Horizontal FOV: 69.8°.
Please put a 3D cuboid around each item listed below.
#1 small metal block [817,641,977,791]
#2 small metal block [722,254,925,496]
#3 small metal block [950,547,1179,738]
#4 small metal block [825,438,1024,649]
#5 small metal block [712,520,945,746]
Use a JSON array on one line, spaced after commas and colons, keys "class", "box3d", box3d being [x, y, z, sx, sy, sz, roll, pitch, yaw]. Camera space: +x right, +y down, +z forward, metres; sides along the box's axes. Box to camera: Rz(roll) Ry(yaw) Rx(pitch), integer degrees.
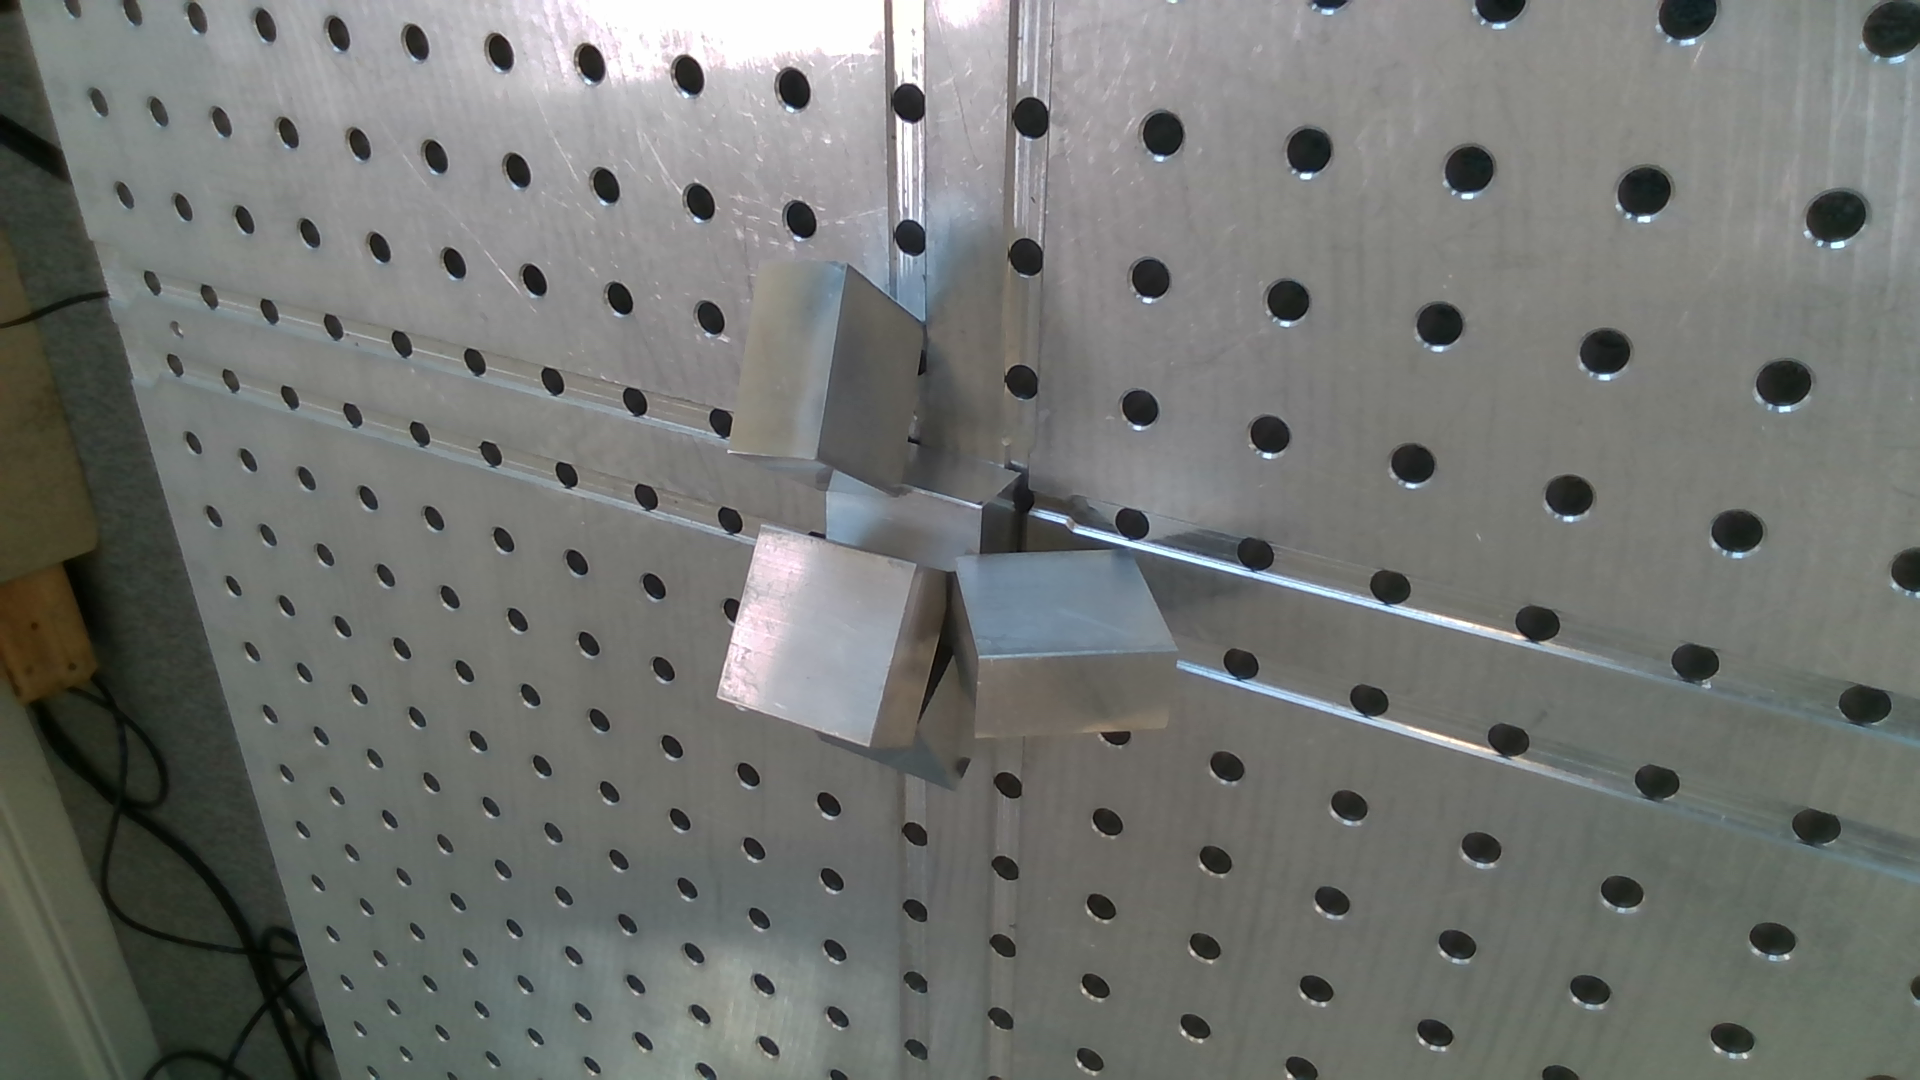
[{"class": "small metal block", "box3d": [-0.024, 0.047, 0.418, 0.050, 0.025, 0.050, 16, 154, 23]}, {"class": "small metal block", "box3d": [-0.034, -0.042, 0.360, 0.025, 0.050, 0.050, 6, 83, 23]}, {"class": "small metal block", "box3d": [0.025, 0.026, 0.361, 0.050, 0.050, 0.025, -1, 120, -8]}, {"class": "small metal block", "box3d": [-0.011, 0.000, 0.398, 0.050, 0.025, 0.050, 16, 122, 23]}, {"class": "small metal block", "box3d": [-0.035, 0.026, 0.379, 0.050, 0.025, 0.050, 14, 89, 25]}]
